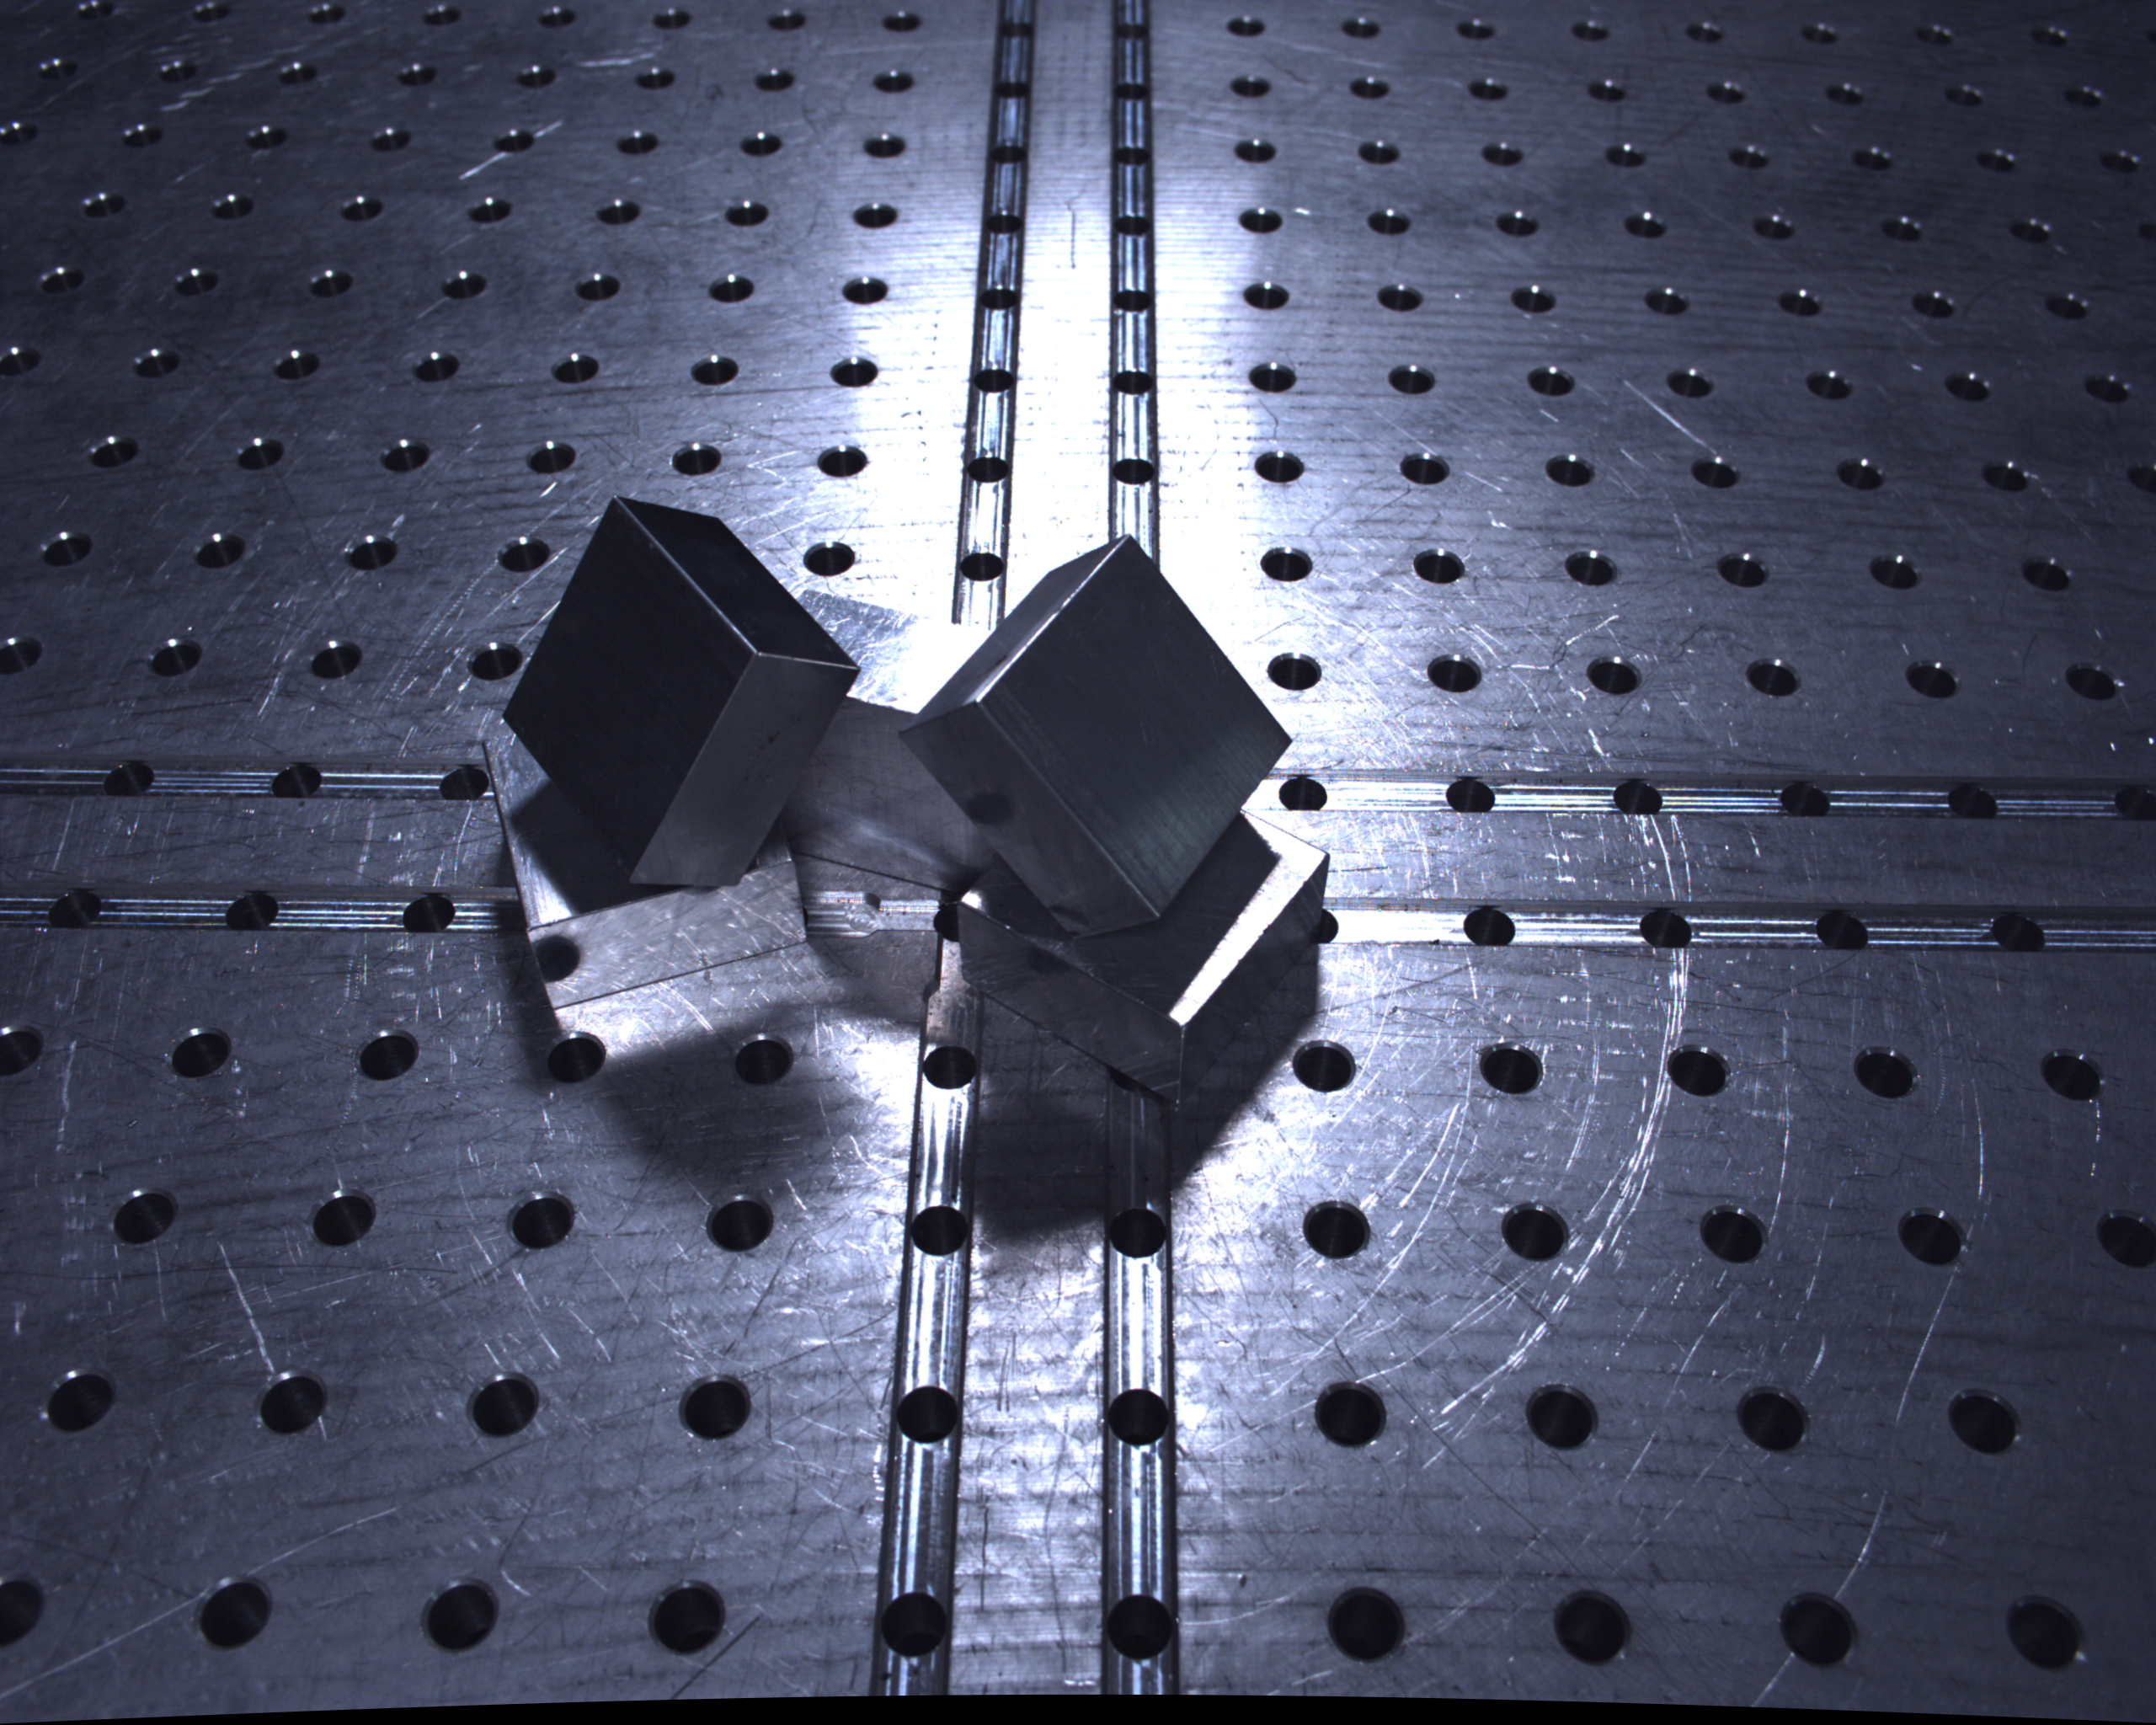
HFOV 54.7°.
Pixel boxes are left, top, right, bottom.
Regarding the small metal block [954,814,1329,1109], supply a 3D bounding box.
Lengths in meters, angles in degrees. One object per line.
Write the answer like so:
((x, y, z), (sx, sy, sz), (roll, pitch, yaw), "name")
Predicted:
((0.012, 0.011, 0.399), (0.050, 0.025, 0.050), (29, 55, 21), "small metal block")

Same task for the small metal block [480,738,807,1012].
((-0.085, -0.004, 0.410), (0.050, 0.025, 0.050), (-15, 52, -13), "small metal block")

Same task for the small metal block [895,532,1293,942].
((0.004, -0.022, 0.376), (0.050, 0.025, 0.050), (50, 54, -17), "small metal block")

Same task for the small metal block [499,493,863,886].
((-0.073, -0.031, 0.380), (0.025, 0.050, 0.050), (4, 35, -51), "small metal block")

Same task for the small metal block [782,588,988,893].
((-0.034, -0.022, 0.409), (0.050, 0.050, 0.025), (15, 52, 11), "small metal block")
